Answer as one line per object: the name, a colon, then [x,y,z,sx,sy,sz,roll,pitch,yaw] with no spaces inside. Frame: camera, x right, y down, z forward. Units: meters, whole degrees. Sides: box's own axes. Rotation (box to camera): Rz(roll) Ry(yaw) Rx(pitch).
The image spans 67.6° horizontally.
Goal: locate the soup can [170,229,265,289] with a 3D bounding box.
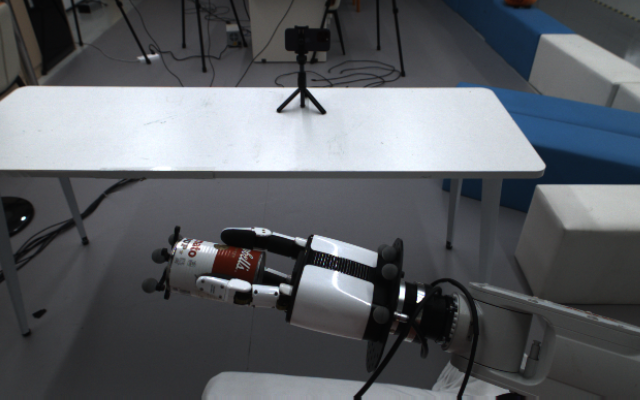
soup can: [-0.118,0.086,0.573,0.101,0.067,0.067,10,35,0]
